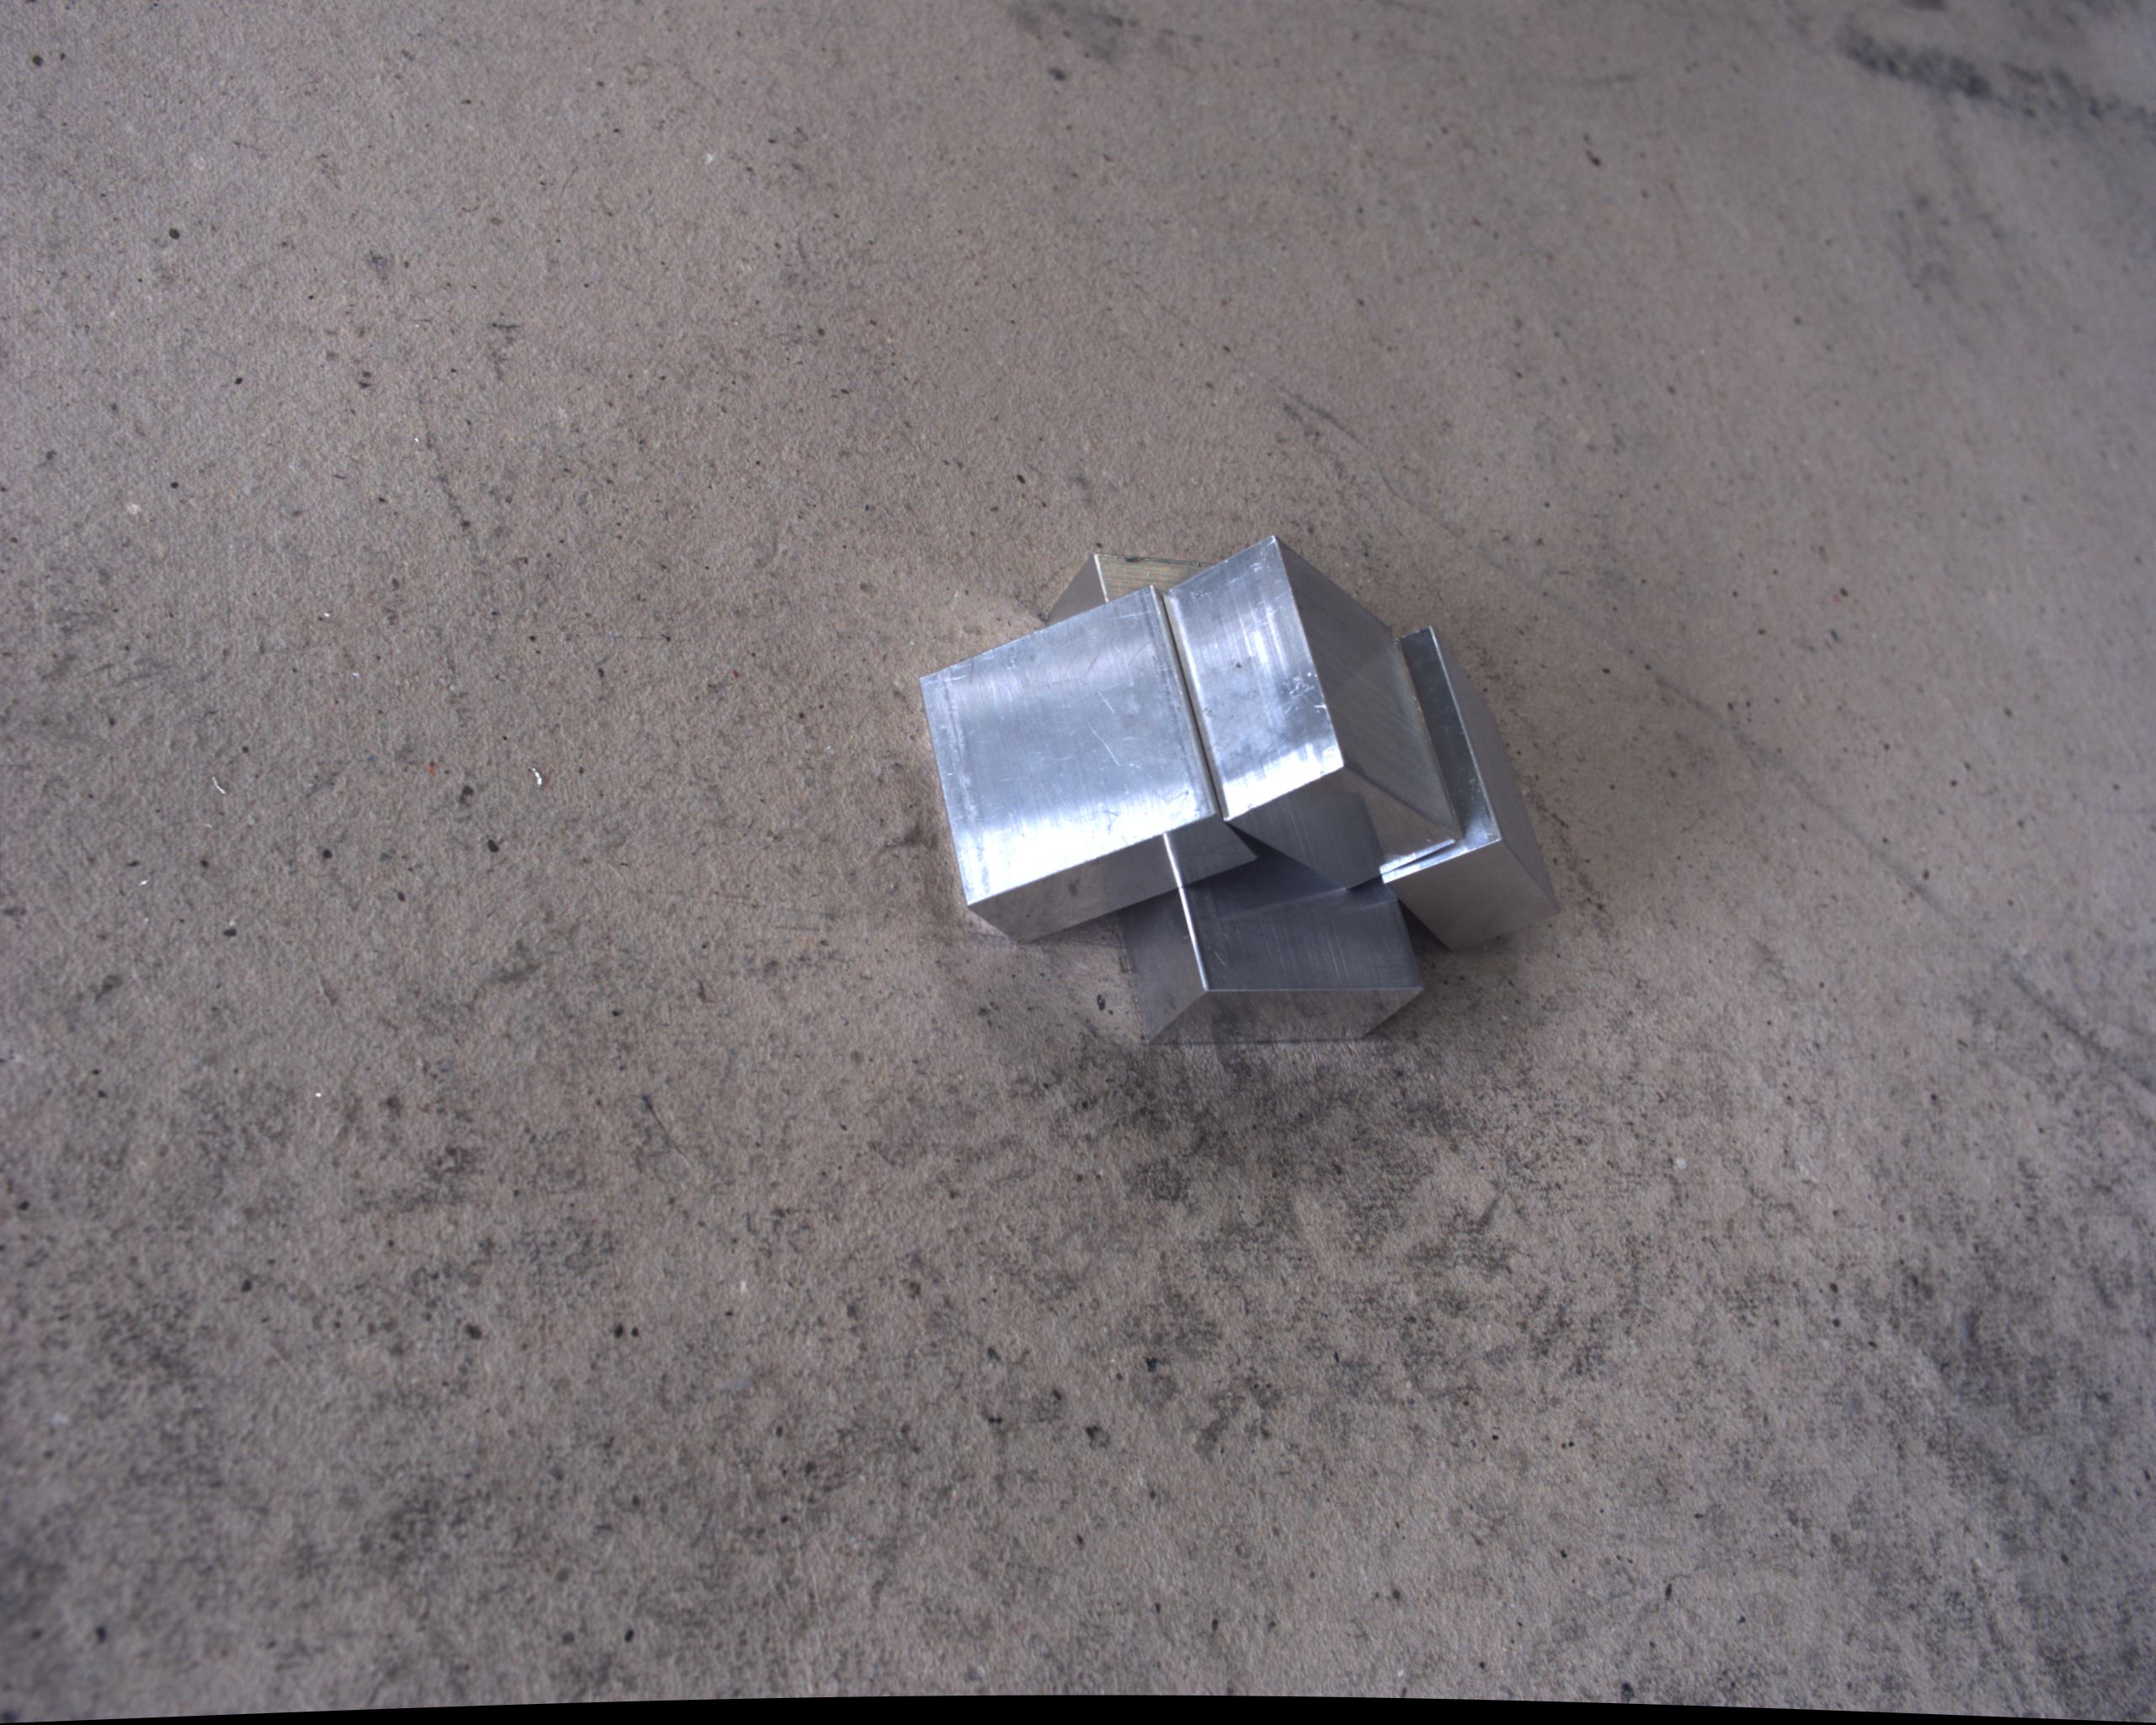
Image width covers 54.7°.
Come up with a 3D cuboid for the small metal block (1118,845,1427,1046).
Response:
[{"bbox_3d":[0.036,0.008,0.419,0.050,0.025,0.050,1,61,-28],"label":"small metal block"}]

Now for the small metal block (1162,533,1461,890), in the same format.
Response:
[{"bbox_3d":[0.045,-0.028,0.400,0.050,0.025,0.050,25,46,-53],"label":"small metal block"}]

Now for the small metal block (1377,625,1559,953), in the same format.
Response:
[{"bbox_3d":[0.076,-0.014,0.439,0.050,0.025,0.050,37,36,-59],"label":"small metal block"}]

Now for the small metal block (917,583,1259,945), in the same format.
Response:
[{"bbox_3d":[0.001,-0.018,0.399,0.025,0.050,0.050,41,32,-60],"label":"small metal block"}]

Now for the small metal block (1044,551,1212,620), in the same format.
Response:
[{"bbox_3d":[0.025,-0.036,0.440,0.050,0.025,0.050,1,61,-28],"label":"small metal block"}]
